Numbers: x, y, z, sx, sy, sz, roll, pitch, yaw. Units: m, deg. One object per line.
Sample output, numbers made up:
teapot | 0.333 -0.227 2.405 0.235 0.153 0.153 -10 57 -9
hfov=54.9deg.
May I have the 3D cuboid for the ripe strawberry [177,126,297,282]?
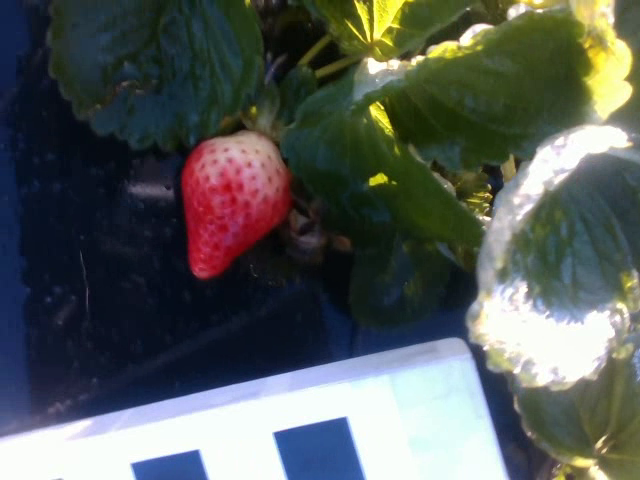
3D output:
ripe strawberry | -0.040 -0.012 0.228 0.040 0.065 0.040 26 8 -1
